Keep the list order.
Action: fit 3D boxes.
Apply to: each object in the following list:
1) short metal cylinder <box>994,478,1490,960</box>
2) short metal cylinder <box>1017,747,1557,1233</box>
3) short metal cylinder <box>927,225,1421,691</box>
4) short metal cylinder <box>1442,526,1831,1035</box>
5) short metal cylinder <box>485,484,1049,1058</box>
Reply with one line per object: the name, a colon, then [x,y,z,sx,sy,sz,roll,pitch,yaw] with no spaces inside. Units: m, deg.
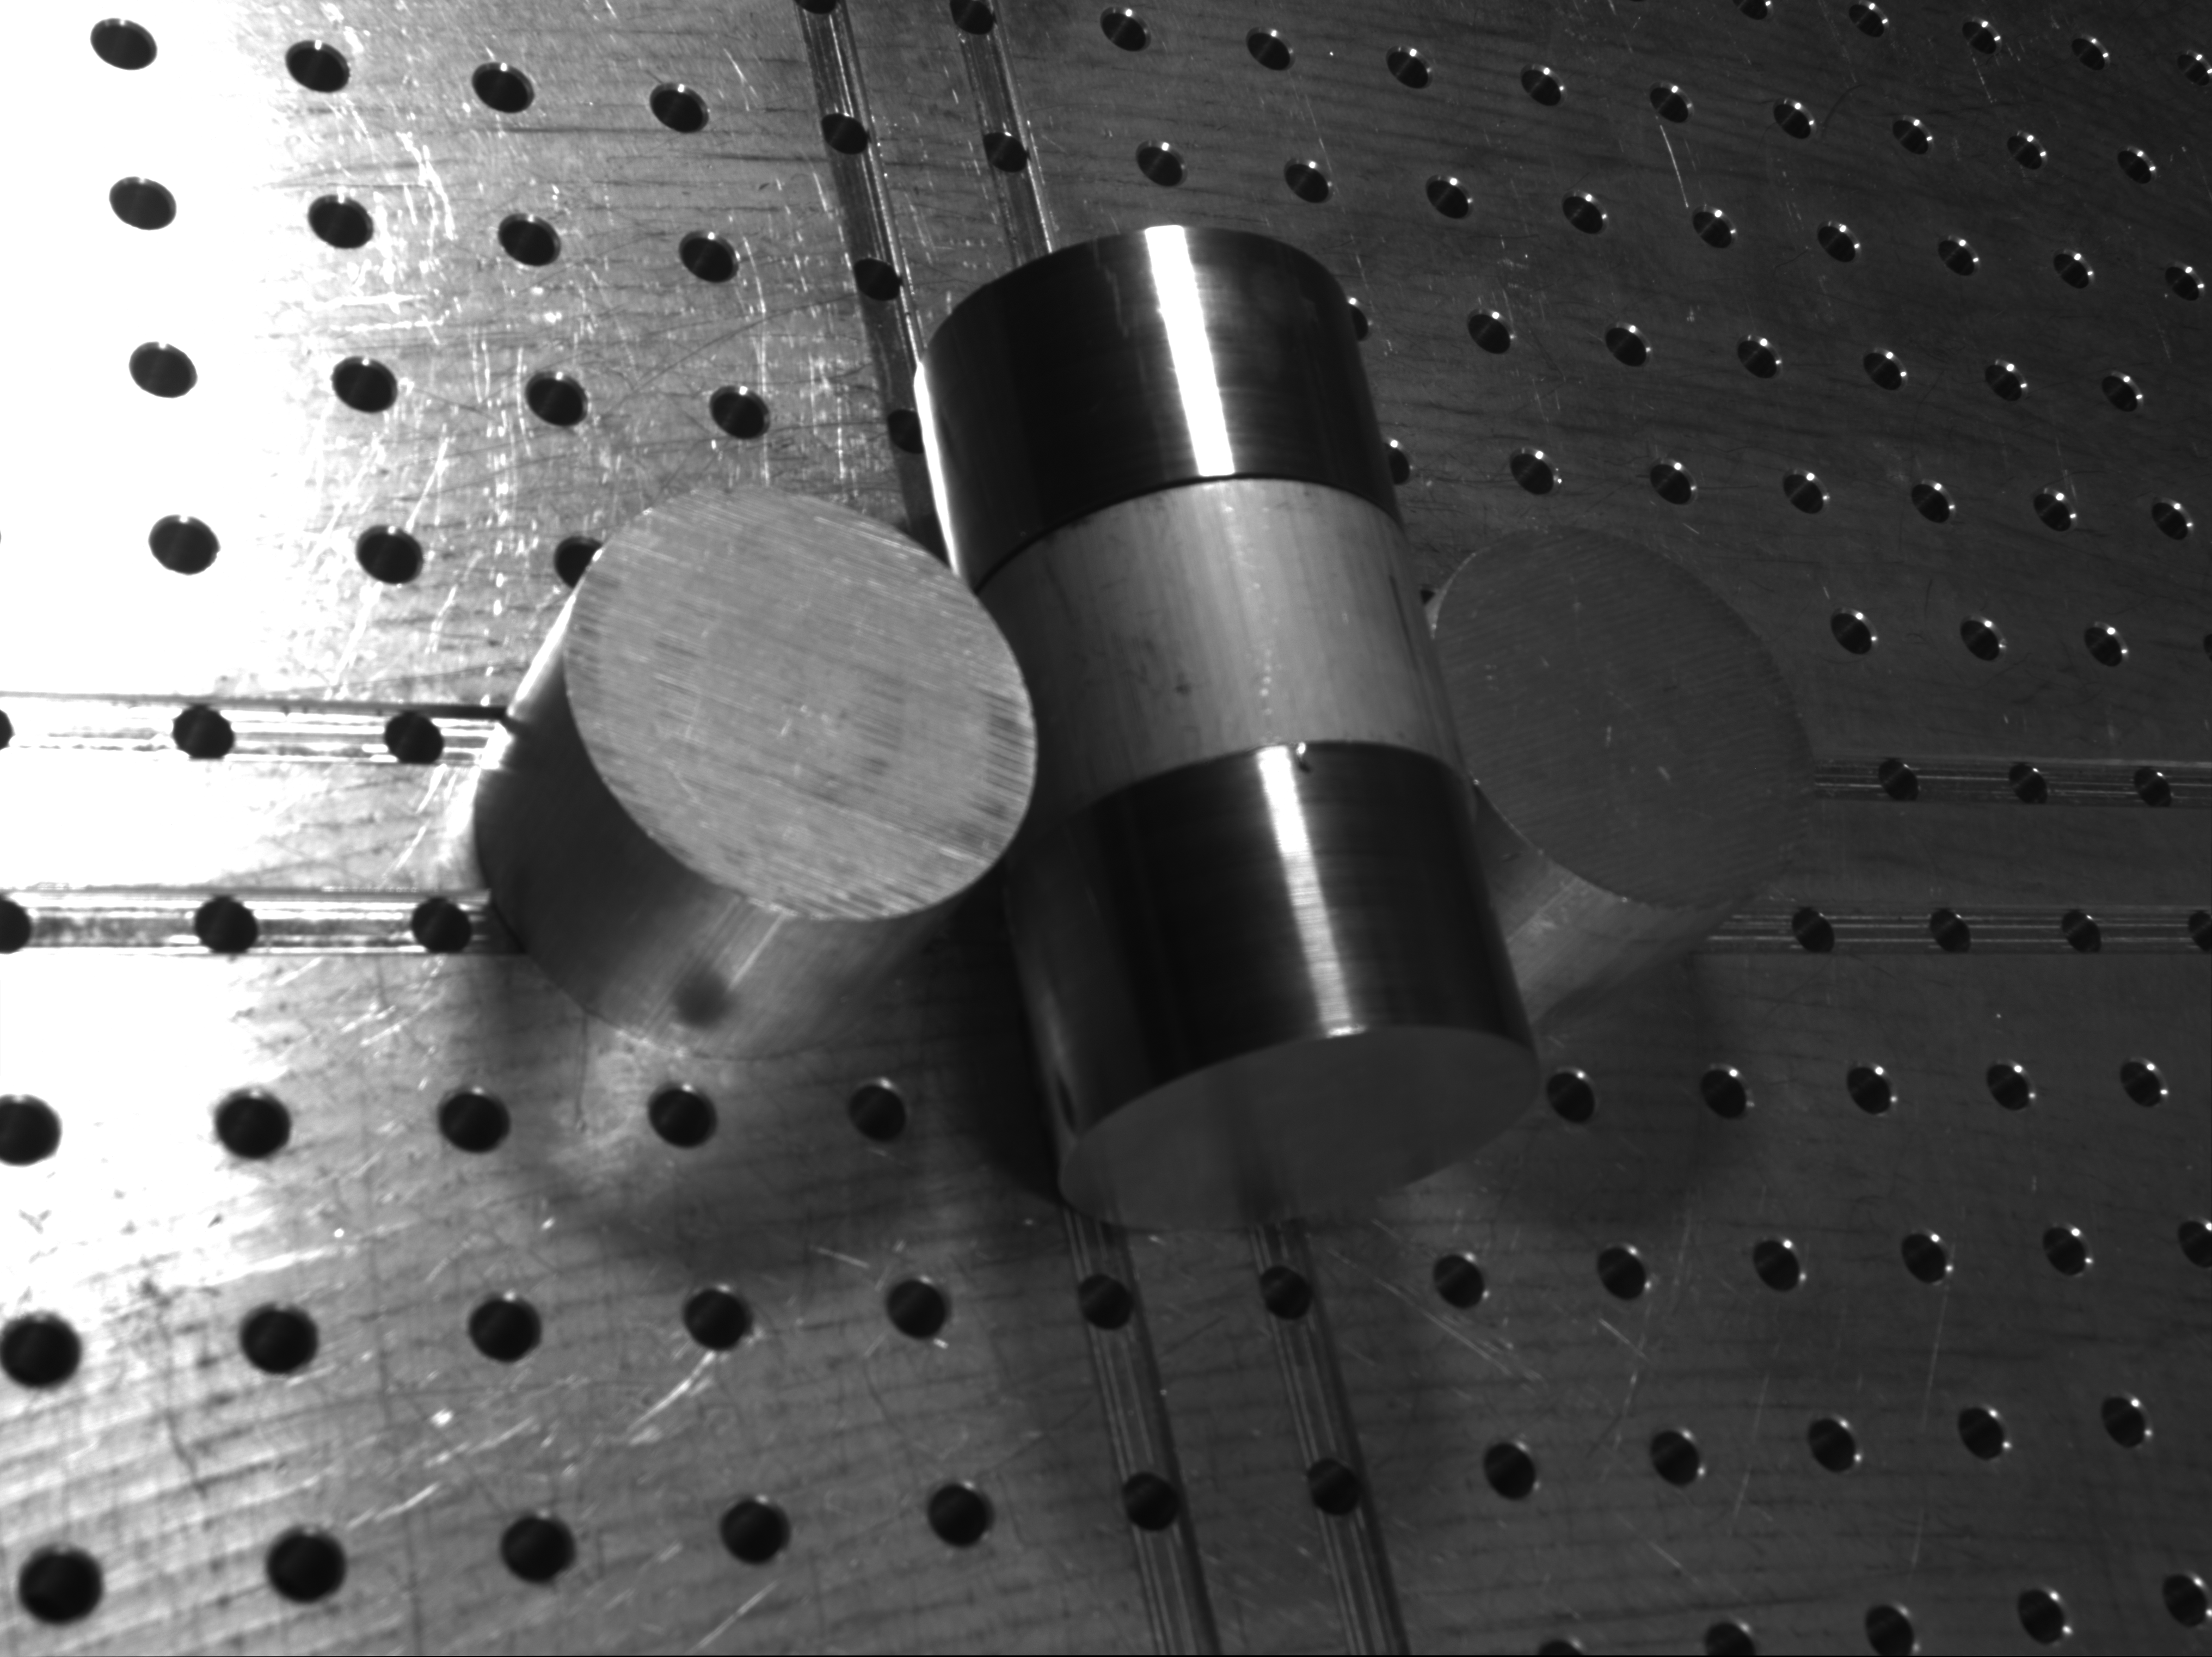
short metal cylinder: [0.021,-0.017,0.629,0.080,0.080,0.050,2,61,-27]
short metal cylinder: [0.029,0.028,0.605,0.080,0.080,0.050,1,61,-27]
short metal cylinder: [0.012,-0.063,0.651,0.080,0.080,0.050,3,60,-27]
short metal cylinder: [0.086,-0.009,0.677,0.080,0.050,0.080,14,56,-21]
short metal cylinder: [-0.056,-0.009,0.602,0.080,0.050,0.080,14,56,-21]
